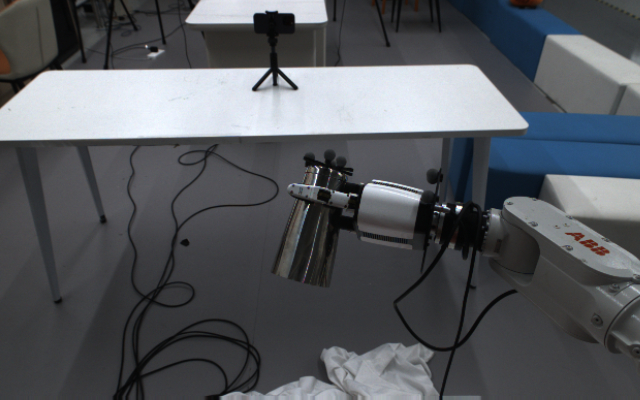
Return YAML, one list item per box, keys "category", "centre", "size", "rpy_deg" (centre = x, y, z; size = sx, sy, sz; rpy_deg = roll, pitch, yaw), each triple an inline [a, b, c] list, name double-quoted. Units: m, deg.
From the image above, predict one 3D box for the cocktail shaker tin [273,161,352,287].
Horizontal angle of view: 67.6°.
- category: "cocktail shaker tin"
  centre: [-0.009, 0.036, 0.740]
  size: [0.093, 0.170, 0.093]
  rpy_deg: [15, -5, 1]
